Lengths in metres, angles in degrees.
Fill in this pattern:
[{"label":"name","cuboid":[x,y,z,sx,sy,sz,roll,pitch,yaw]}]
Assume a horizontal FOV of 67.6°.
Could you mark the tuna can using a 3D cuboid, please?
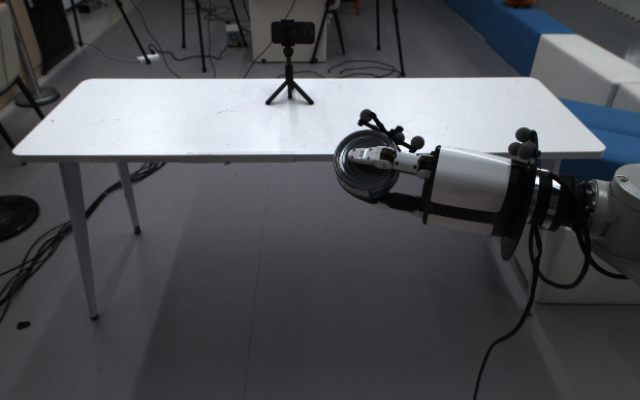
[{"label":"tuna can","cuboid":[0.065,-0.042,0.625,0.085,0.034,0.085,-4,69,10]}]
